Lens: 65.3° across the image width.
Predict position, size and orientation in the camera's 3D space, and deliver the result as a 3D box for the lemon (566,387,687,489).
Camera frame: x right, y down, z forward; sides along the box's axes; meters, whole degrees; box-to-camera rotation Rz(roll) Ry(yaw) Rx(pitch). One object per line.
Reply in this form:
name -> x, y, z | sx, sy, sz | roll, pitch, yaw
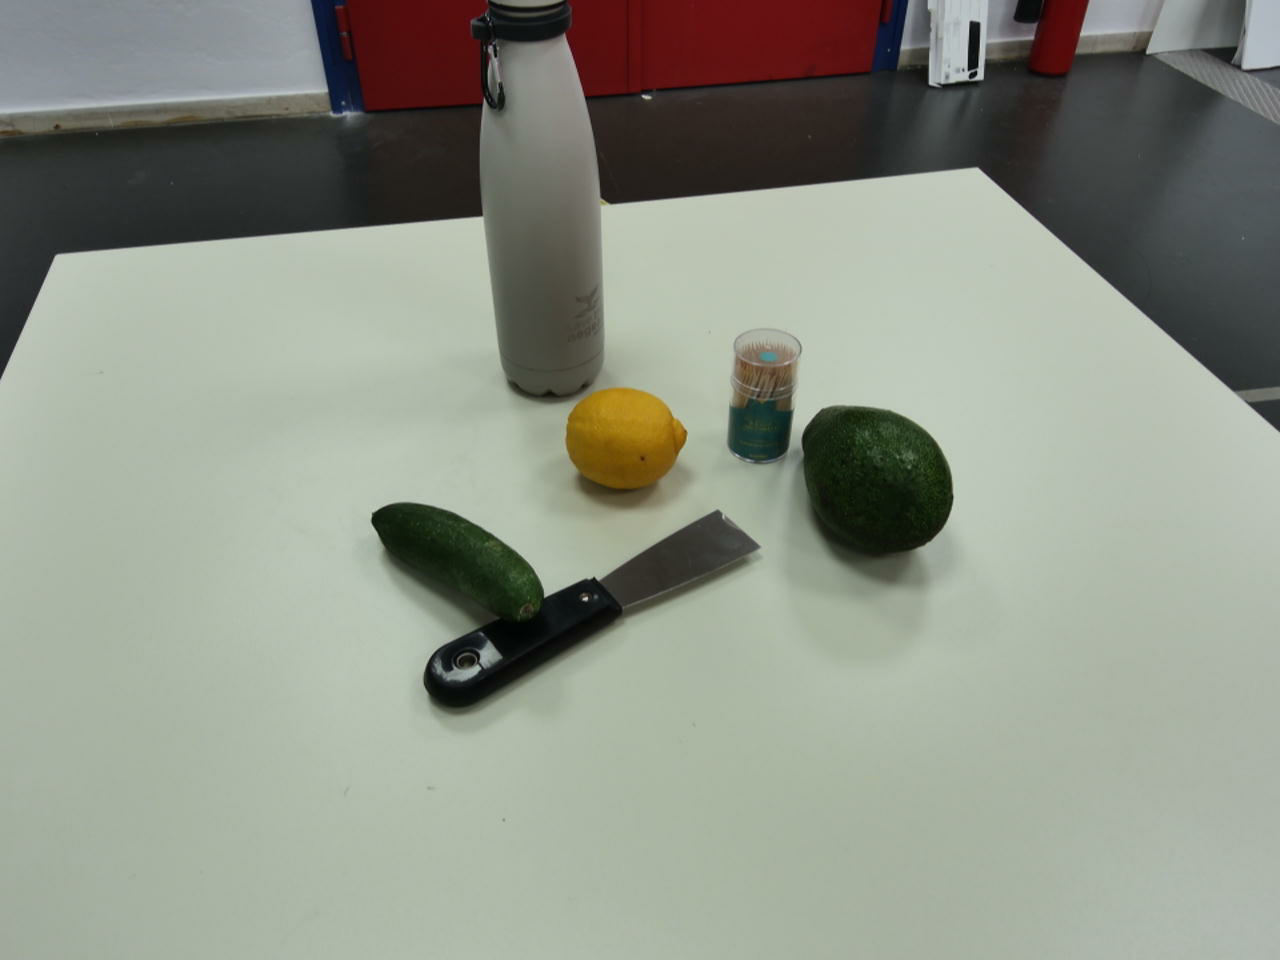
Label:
lemon -> -0.010, -0.024, 0.590 | 0.067, 0.059, 0.060 | 20, 43, 23
